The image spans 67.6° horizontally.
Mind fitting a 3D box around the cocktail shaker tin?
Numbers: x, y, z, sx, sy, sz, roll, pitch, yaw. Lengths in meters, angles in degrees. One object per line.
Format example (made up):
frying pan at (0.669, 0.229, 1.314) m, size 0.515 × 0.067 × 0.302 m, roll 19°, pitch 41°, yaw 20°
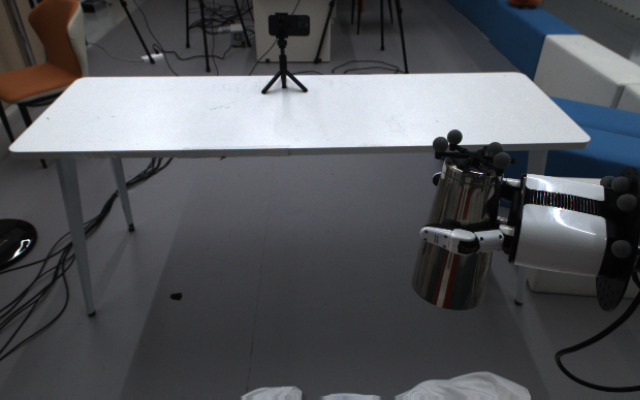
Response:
cocktail shaker tin at (0.170, 0.035, 0.584) m, size 0.093 × 0.170 × 0.093 m, roll 3°, pitch 26°, yaw -1°
